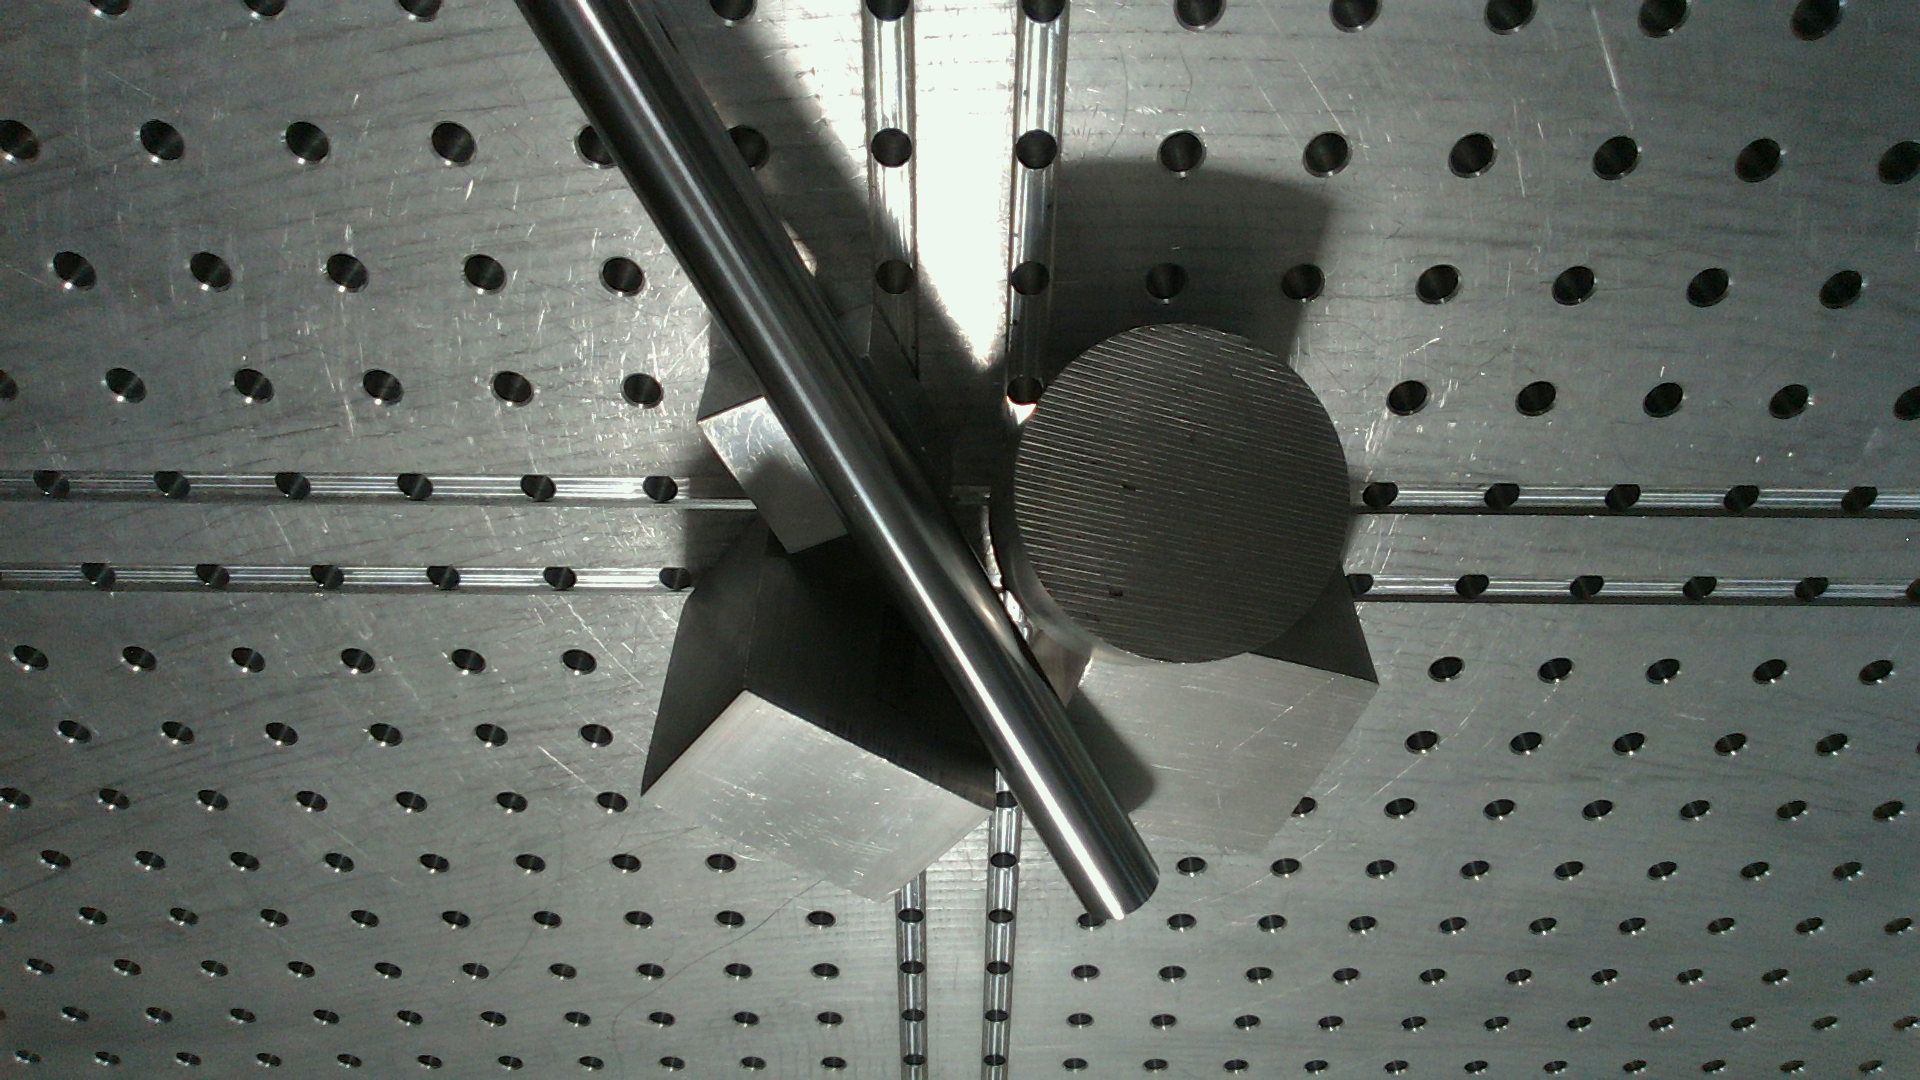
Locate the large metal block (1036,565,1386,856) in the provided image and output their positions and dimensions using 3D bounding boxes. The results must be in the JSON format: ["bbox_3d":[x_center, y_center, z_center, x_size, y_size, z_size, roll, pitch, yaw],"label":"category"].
[{"bbox_3d":[0.067,0.044,0.414,0.080,0.050,0.080,13,129,-11],"label":"large metal block"}]

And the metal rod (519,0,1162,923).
[{"bbox_3d":[-0.022,-0.017,0.340,0.025,0.025,0.300,-22,115,18],"label":"metal rod"}]

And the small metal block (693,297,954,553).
[{"bbox_3d":[-0.035,-0.030,0.369,0.050,0.025,0.050,-19,128,15],"label":"small metal block"}]

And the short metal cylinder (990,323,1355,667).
[{"bbox_3d":[0.050,-0.008,0.342,0.080,0.080,0.050,7,173,-6],"label":"short metal cylinder"}]

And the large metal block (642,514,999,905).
[{"bbox_3d":[-0.036,0.045,0.395,0.080,0.080,0.050,30,124,-23],"label":"large metal block"}]
